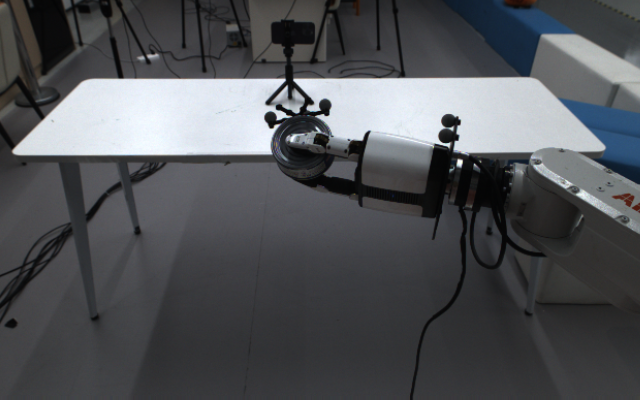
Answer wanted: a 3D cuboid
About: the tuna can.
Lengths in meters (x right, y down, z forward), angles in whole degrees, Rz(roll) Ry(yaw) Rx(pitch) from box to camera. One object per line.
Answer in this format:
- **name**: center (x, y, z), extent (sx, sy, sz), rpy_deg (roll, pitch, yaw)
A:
- **tuna can**: center (-0.019, -0.067, 0.659), extent (0.085, 0.034, 0.085), rpy_deg (-4, 68, 9)
